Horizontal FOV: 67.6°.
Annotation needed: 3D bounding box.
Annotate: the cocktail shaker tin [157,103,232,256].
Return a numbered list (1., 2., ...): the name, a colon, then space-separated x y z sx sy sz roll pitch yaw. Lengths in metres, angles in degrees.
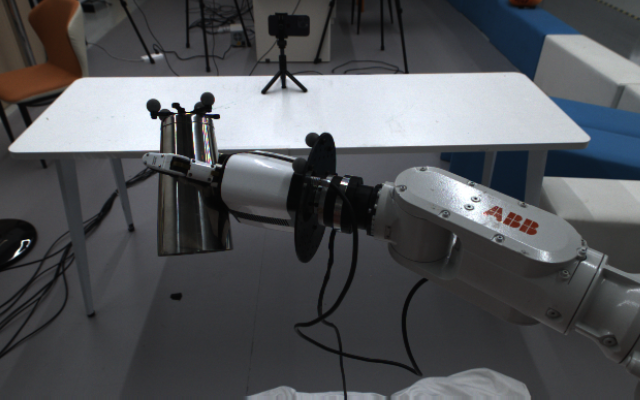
1. cocktail shaker tin: -0.163 -0.017 0.613 0.093 0.170 0.093 -6 -7 -1
